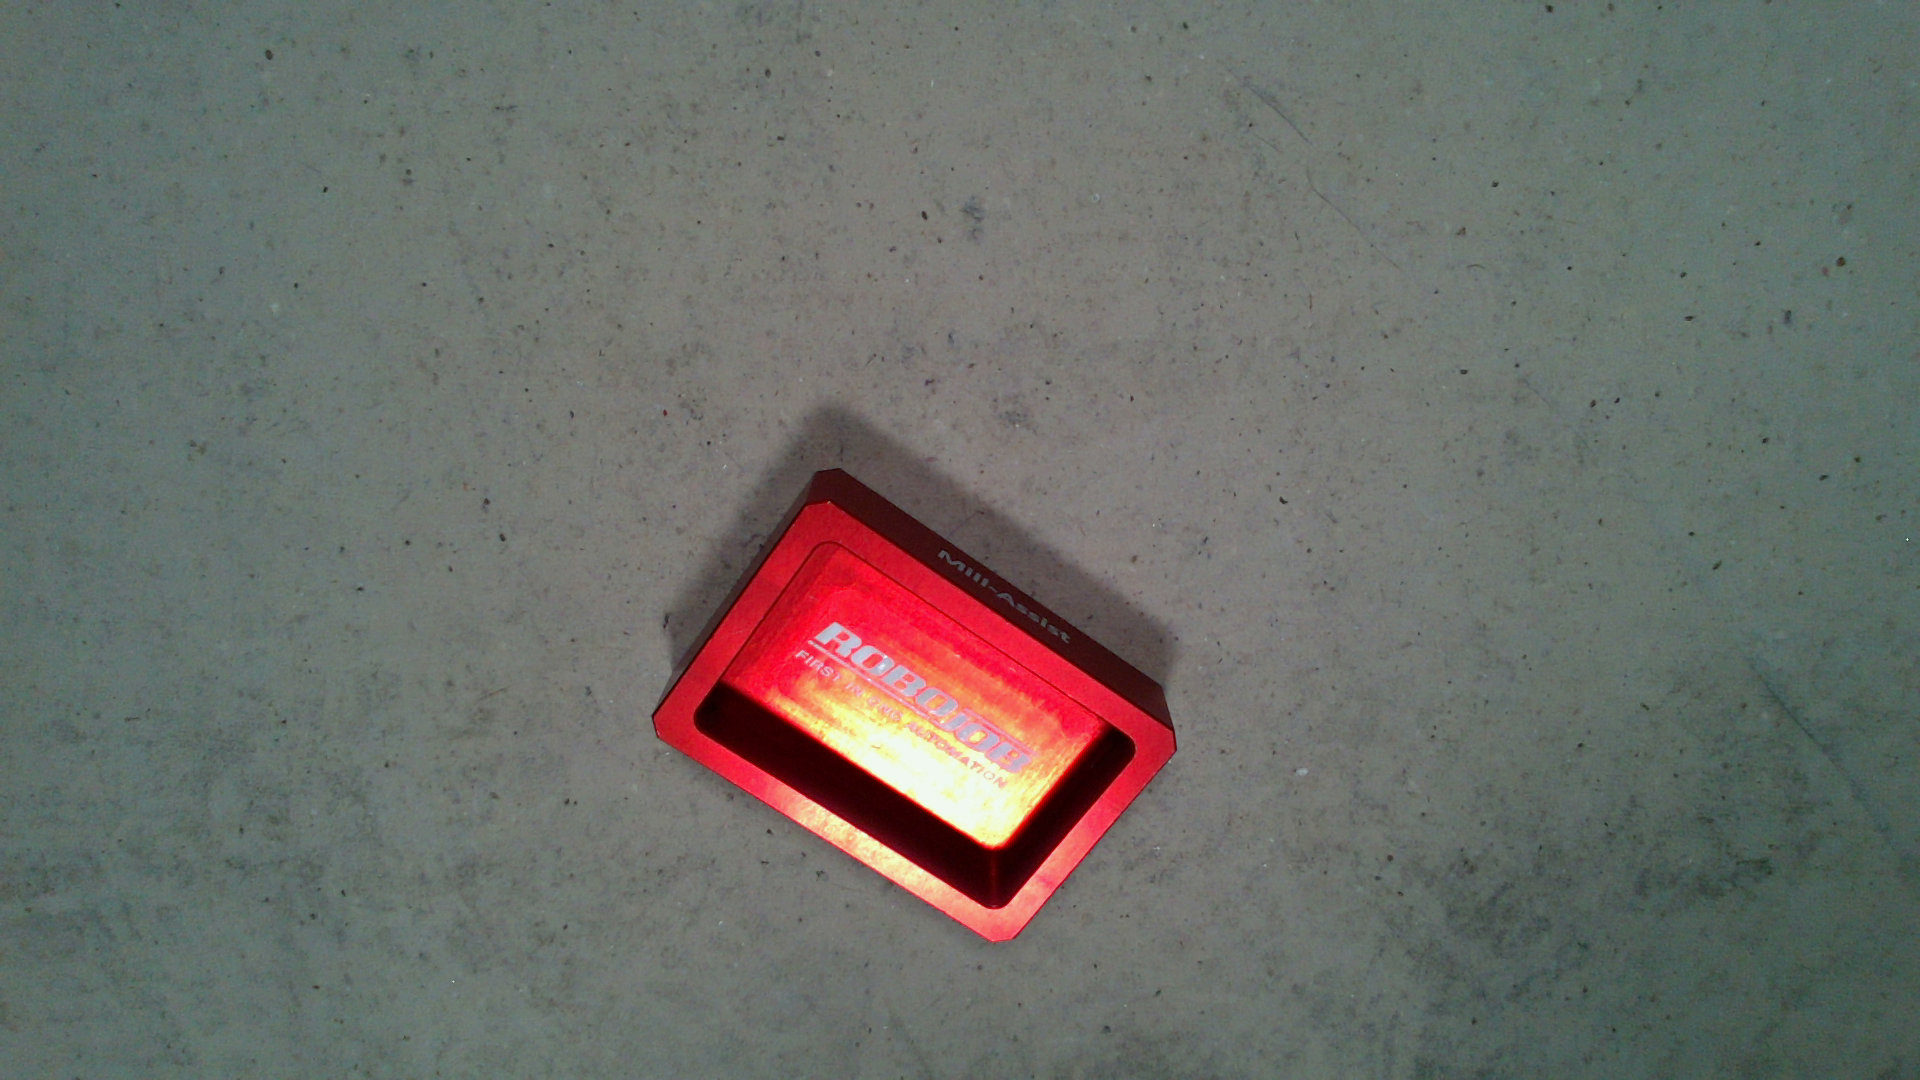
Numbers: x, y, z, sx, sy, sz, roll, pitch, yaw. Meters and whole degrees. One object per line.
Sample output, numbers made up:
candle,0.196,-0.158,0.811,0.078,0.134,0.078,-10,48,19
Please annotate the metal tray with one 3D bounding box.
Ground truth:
metal tray,-0.013,0.051,0.410,0.130,0.030,0.090,34,107,-12
